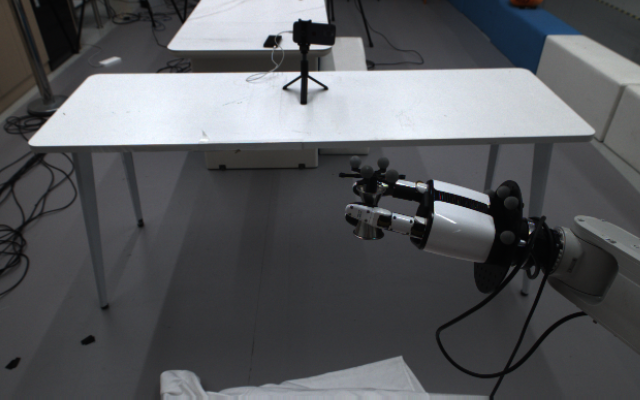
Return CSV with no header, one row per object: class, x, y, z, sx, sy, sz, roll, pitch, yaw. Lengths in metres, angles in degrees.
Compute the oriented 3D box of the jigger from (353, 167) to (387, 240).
jigger,0.068,0.015,0.673,0.043,0.071,0.043,1,20,0
